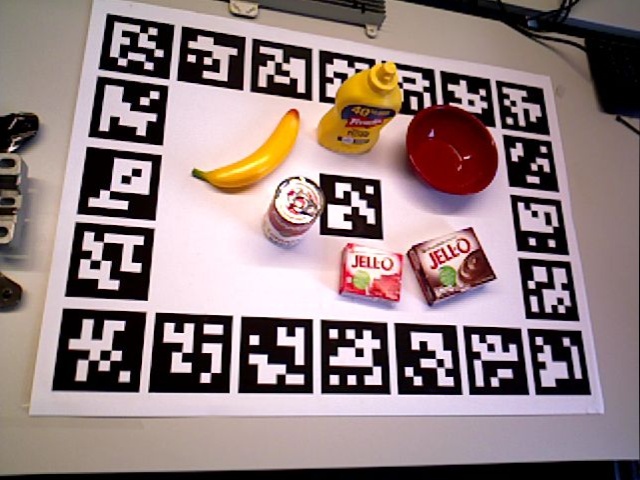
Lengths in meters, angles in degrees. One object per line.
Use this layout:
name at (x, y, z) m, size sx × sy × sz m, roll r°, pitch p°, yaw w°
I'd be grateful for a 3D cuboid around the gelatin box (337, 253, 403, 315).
gelatin box at (0.071, 0.063, 0.779) m, size 0.088 × 0.030 × 0.072 m, roll 12°, pitch 72°, yaw -11°

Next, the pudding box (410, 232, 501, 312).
pudding box at (0.203, 0.048, 0.817) m, size 0.112 × 0.039 × 0.090 m, roll -19°, pitch 83°, yaw -21°

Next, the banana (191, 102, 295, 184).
banana at (-0.094, -0.137, 0.796) m, size 0.074 × 0.039 × 0.194 m, roll 40°, pitch 65°, yaw 11°

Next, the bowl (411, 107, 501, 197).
bowl at (0.210, -0.130, 0.875) m, size 0.160 × 0.056 × 0.160 m, roll 5°, pitch 70°, yaw -13°

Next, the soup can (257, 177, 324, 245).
soup can at (-0.042, -0.042, 0.732) m, size 0.067 × 0.104 × 0.067 m, roll 6°, pitch 67°, yaw -17°

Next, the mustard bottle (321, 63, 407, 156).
mustard bottle at (0.071, -0.191, 0.764) m, size 0.095 × 0.195 × 0.058 m, roll 6°, pitch 66°, yaw -15°
